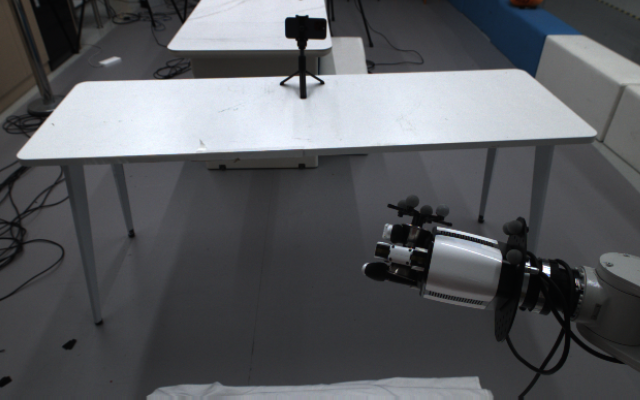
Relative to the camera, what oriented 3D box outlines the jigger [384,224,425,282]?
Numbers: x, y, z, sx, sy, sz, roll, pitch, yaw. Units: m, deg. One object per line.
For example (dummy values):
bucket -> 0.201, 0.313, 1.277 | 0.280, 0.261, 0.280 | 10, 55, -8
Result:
jigger -> 0.118, 0.068, 0.640 | 0.043, 0.071, 0.043 | 19, -6, 2
